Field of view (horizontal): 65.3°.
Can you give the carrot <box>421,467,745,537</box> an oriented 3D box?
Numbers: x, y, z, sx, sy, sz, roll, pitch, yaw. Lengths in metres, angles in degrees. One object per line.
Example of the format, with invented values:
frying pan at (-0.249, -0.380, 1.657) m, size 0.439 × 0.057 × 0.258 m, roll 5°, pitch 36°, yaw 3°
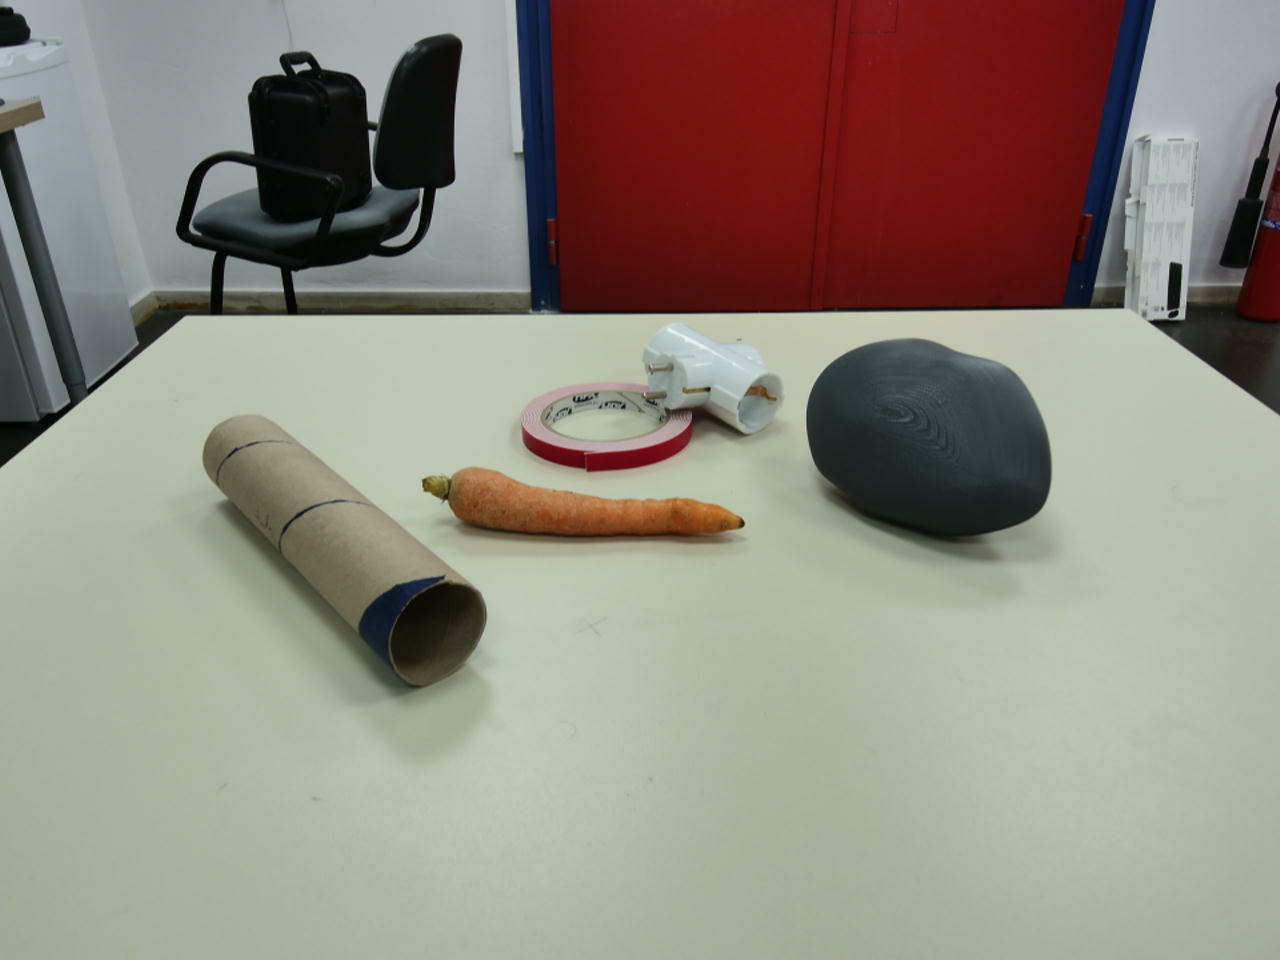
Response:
carrot at (-0.031, 0.013, 0.528) m, size 0.173 × 0.032 × 0.030 m, roll 4°, pitch 26°, yaw 8°
